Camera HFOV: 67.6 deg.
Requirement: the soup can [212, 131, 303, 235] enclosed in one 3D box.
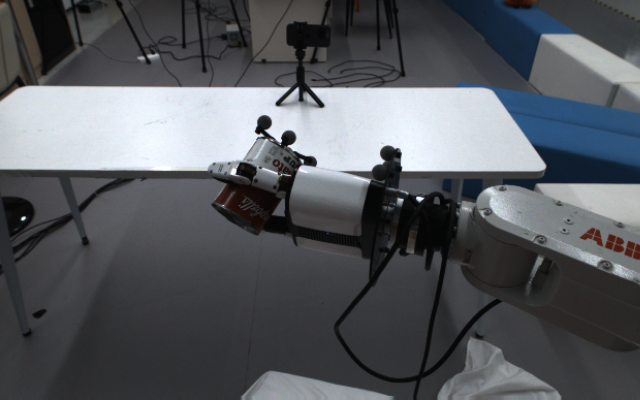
[{"bbox_3d":[-0.074,-0.017,0.584,0.067,0.067,0.101,24,73,28],"label":"soup can"}]
